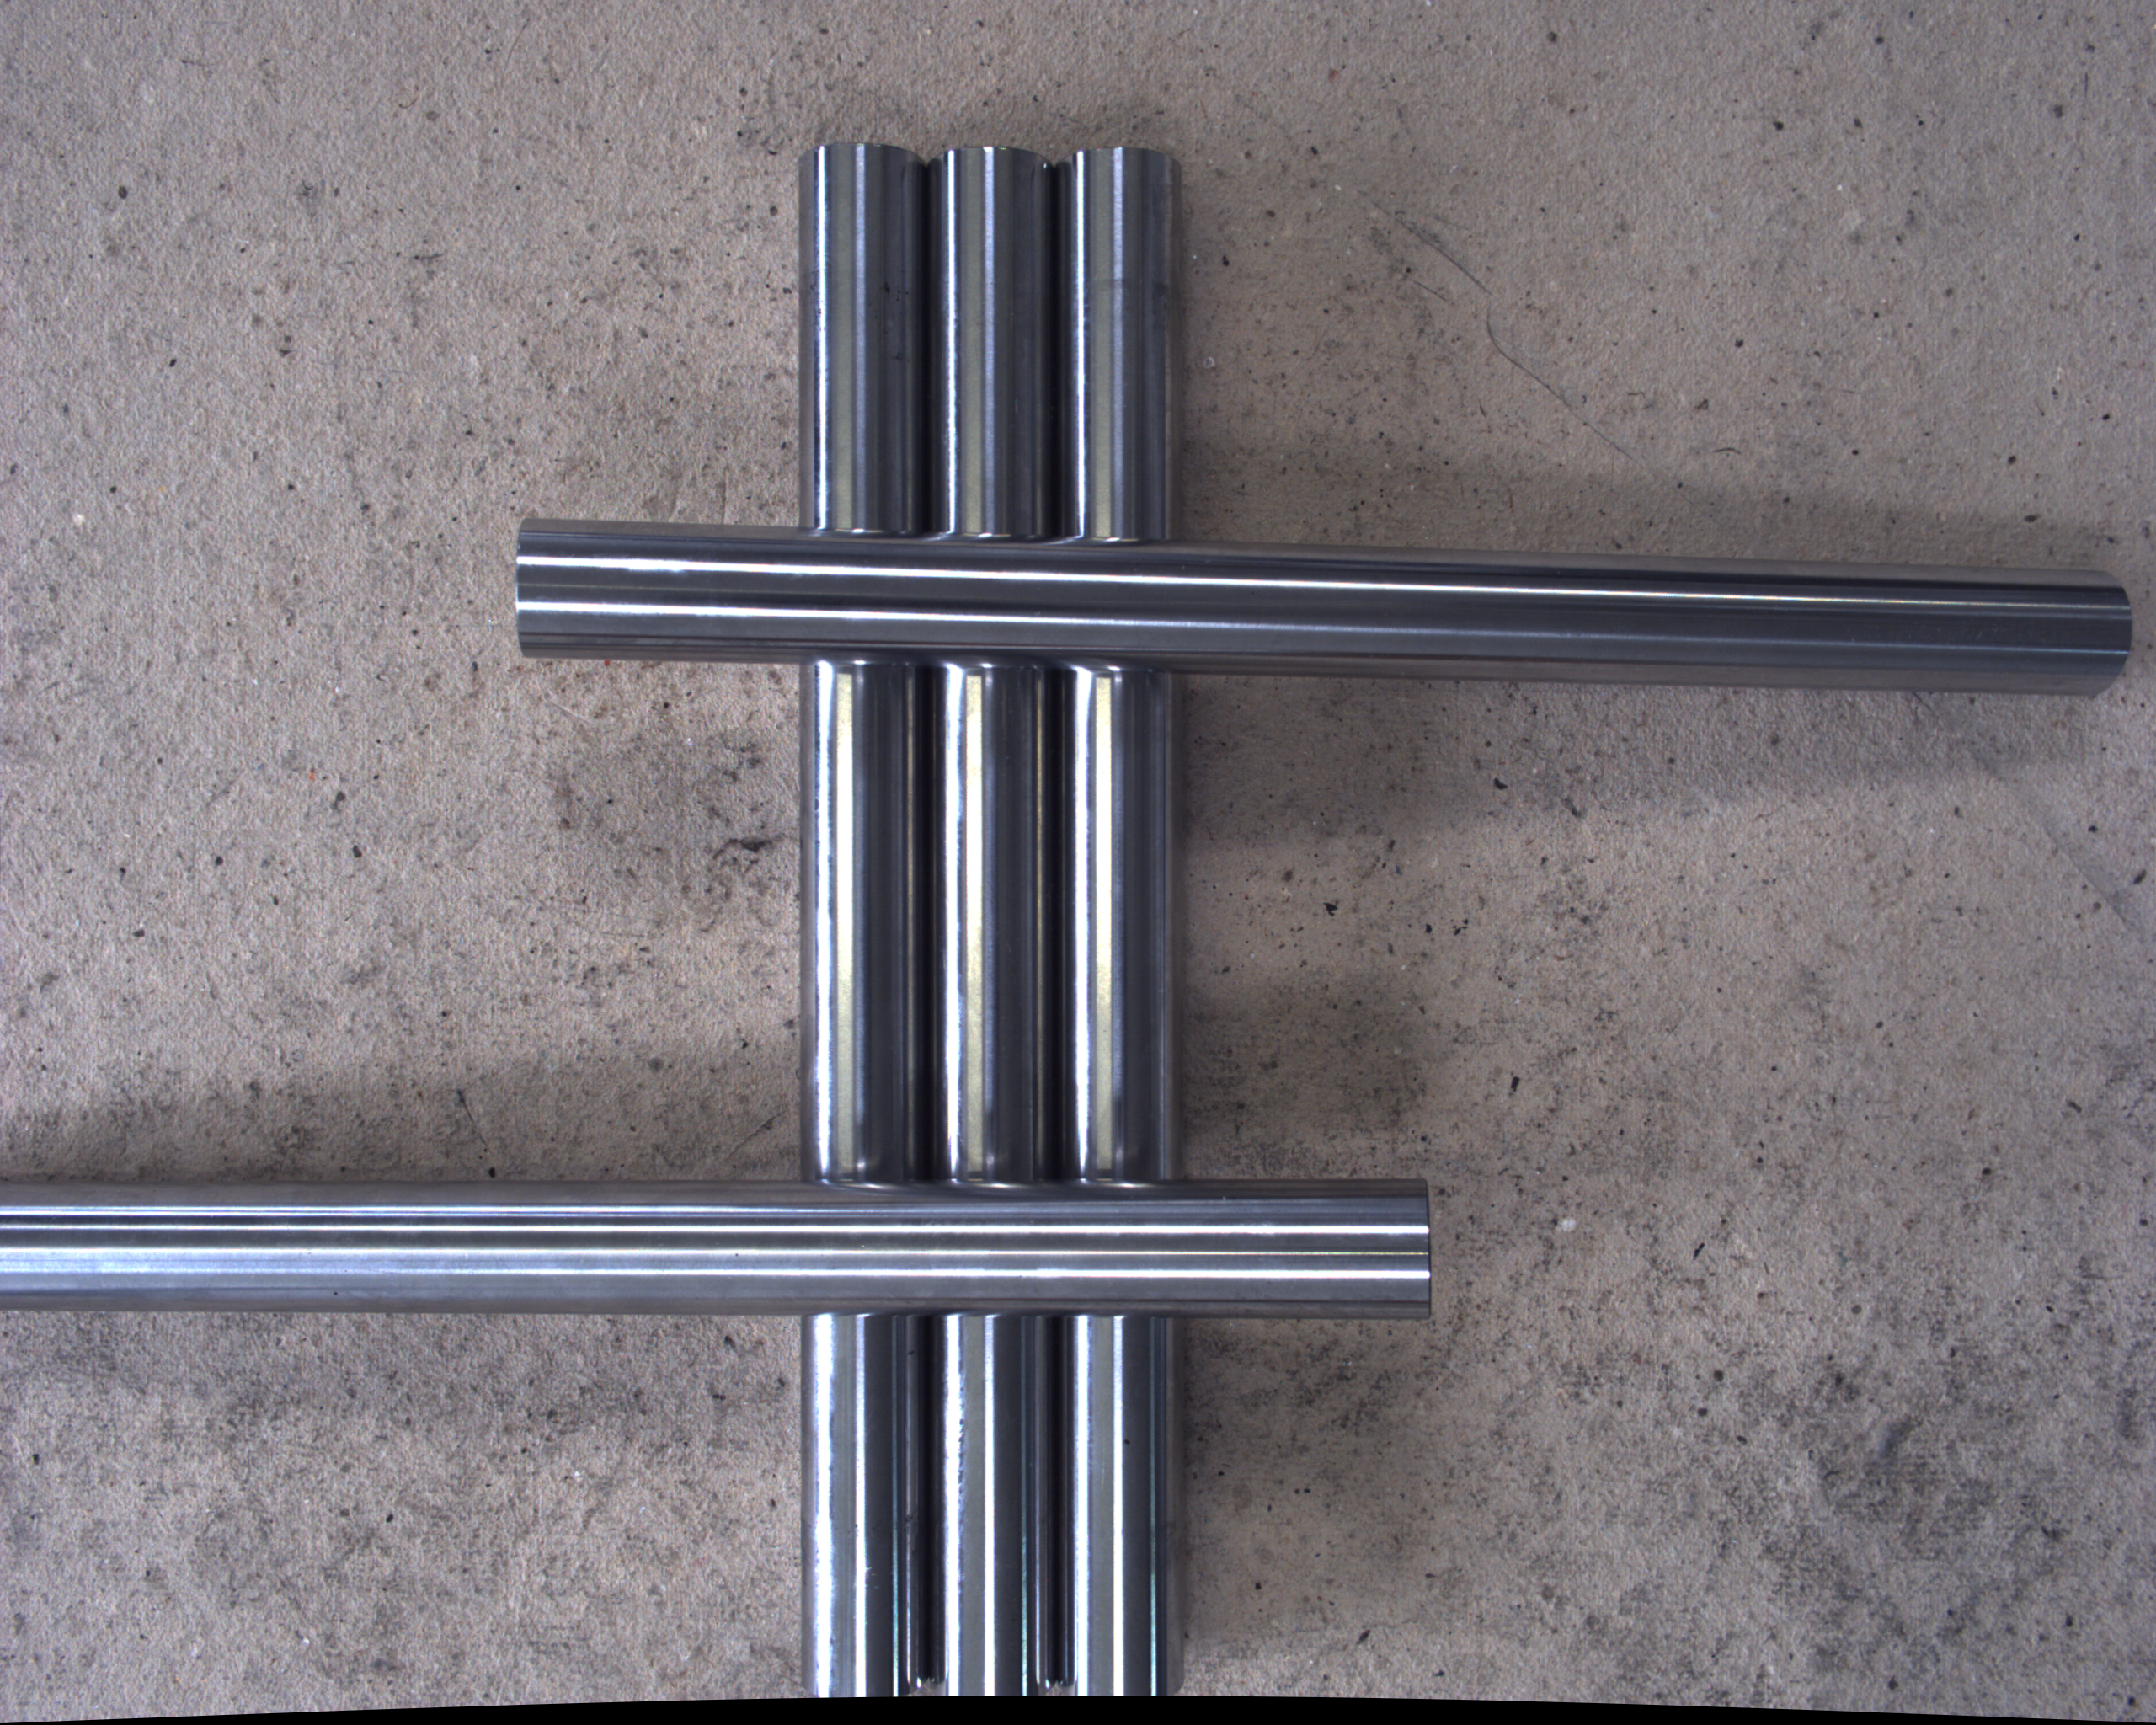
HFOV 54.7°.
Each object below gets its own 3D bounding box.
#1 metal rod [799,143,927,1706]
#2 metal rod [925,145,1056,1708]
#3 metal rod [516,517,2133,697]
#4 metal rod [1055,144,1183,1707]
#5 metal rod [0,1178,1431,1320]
[{"bbox_3d":[-0.042,0.012,0.410,0.025,0.025,0.298,0,90,0],"label":"metal rod"},{"bbox_3d":[-0.017,0.012,0.410,0.025,0.025,0.298,0,90,0],"label":"metal rod"},{"bbox_3d":[0.051,-0.047,0.392,0.302,0.025,0.025,1,90,-8],"label":"metal rod"},{"bbox_3d":[0.008,0.012,0.410,0.025,0.025,0.298,0,90,0],"label":"metal rod"},{"bbox_3d":[-0.087,0.072,0.391,0.302,0.025,0.025,-1,90,7],"label":"metal rod"}]
